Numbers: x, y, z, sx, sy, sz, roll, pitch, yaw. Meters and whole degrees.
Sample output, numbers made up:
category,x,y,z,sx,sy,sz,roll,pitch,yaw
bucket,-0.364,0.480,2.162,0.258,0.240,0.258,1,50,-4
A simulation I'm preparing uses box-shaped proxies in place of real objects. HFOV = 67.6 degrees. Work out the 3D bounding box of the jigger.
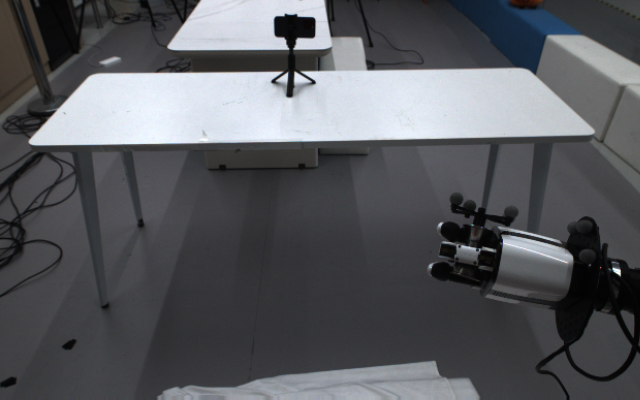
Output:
category,x,y,z,sx,sy,sz,roll,pitch,yaw
jigger,0.204,0.069,0.643,0.043,0.071,0.043,16,-7,2
